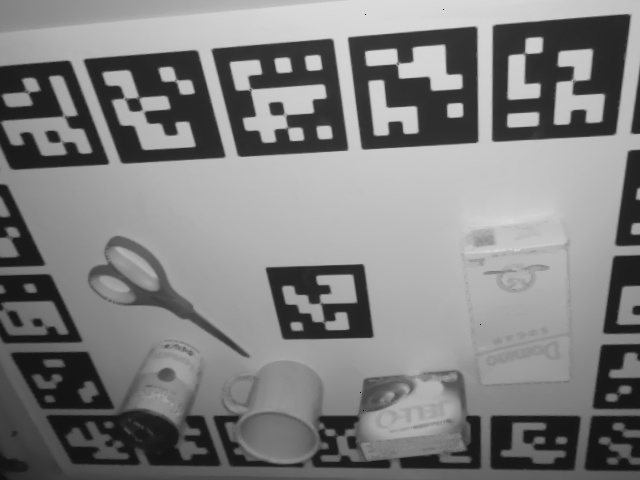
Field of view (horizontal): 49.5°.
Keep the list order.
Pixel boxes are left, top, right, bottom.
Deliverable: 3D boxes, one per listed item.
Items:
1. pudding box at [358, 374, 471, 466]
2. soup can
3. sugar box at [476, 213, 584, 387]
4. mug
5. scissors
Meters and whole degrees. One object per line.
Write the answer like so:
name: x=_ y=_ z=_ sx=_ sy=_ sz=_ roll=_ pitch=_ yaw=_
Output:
pudding box: x=0.103 y=0.191 z=0.737 sx=0.113 sy=0.091 sz=0.038 roll=-11 pitch=114 yaw=15
soup can: x=-0.163 y=0.168 z=0.761 sx=0.068 sy=0.103 sz=0.067 roll=3 pitch=124 yaw=5
sugar box: x=0.207 y=0.063 z=0.678 sx=0.092 sy=0.046 sz=0.175 roll=-7 pitch=120 yaw=9
mug: x=-0.043 y=0.195 z=0.767 sx=0.092 sy=0.082 sz=0.117 roll=-38 pitch=112 yaw=24
scissors: x=-0.149 y=0.069 z=0.737 sx=0.203 sy=0.016 sz=0.087 roll=38 pitch=109 yaw=-15
